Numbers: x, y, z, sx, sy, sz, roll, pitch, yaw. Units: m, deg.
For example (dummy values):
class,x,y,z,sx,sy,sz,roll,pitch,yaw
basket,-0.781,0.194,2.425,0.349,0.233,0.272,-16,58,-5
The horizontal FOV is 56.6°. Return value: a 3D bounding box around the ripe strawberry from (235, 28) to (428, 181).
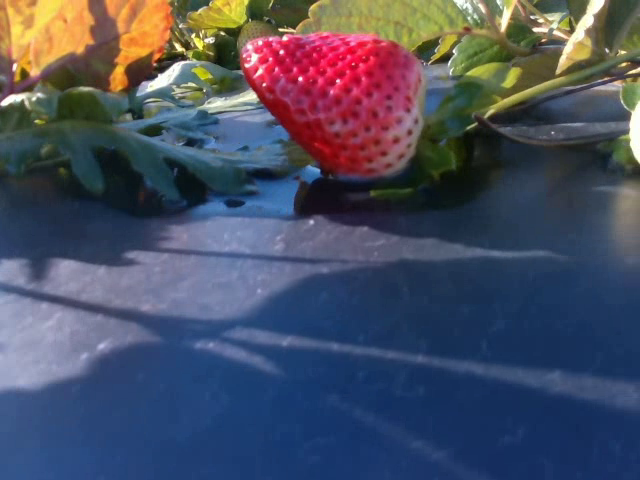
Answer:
class,x,y,z,sx,sy,sz,roll,pitch,yaw
ripe strawberry,0.003,-0.034,0.139,0.053,0.044,0.036,18,-27,-4
